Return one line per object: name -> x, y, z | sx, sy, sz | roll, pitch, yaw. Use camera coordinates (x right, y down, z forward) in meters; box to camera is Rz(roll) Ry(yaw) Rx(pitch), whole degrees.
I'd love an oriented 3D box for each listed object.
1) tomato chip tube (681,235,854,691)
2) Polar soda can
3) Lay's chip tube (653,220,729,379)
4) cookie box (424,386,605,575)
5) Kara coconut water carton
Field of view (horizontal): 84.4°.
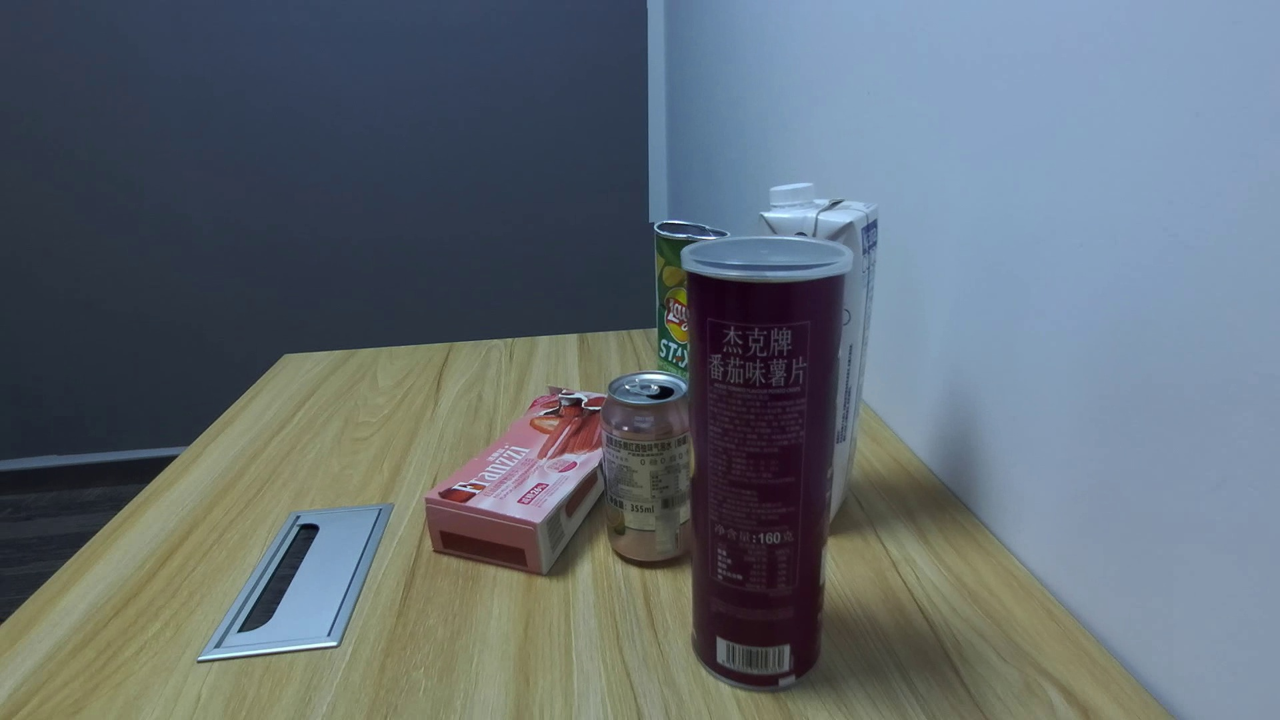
tomato chip tube -> 0.064, 0.058, 0.373 | 0.078, 0.234, 0.078 | -2, 22, 1
Polar soda can -> 0.010, 0.075, 0.492 | 0.067, 0.125, 0.067 | -5, 19, 2
Lay's chip tube -> 0.059, 0.004, 0.594 | 0.069, 0.075, 0.199 | -33, 13, 11
cookie box -> -0.075, 0.086, 0.566 | 0.104, 0.059, 0.186 | 2, 23, 21
Kara coconut water carton -> 0.121, -0.002, 0.507 | 0.075, 0.245, 0.077 | 13, 25, 29
